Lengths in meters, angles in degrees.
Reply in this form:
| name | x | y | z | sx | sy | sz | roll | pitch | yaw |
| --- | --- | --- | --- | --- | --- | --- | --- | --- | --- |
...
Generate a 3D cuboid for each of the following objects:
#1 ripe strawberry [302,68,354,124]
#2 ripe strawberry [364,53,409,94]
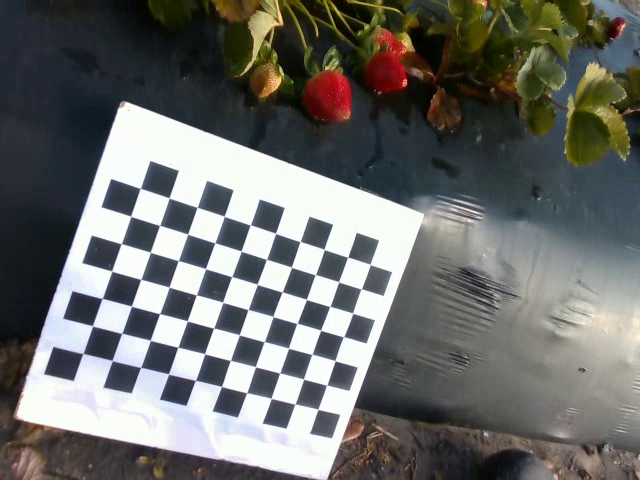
| name | x | y | z | sx | sy | sz | roll | pitch | yaw |
| --- | --- | --- | --- | --- | --- | --- | --- | --- | --- |
| ripe strawberry | 0.011 | -0.131 | 0.553 | 0.050 | 0.050 | 0.065 | -22 | 48 | -10 |
| ripe strawberry | 0.069 | -0.167 | 0.606 | 0.055 | 0.044 | 0.042 | 42 | -6 | 34 |
